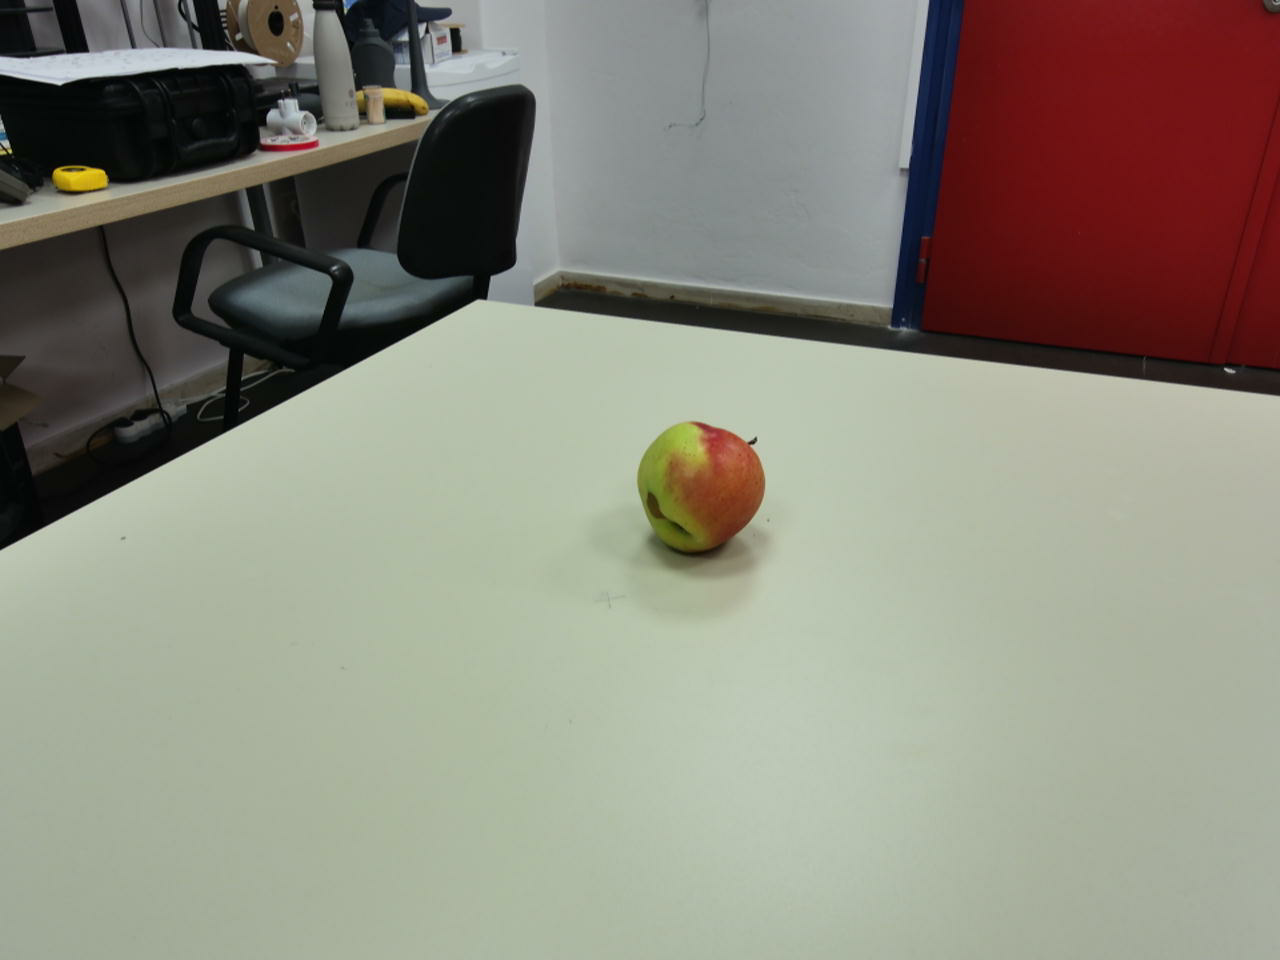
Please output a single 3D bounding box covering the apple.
[{"bbox_3d":[0.035,0.004,0.591,0.075,0.074,0.075,1,25,4],"label":"apple"}]
